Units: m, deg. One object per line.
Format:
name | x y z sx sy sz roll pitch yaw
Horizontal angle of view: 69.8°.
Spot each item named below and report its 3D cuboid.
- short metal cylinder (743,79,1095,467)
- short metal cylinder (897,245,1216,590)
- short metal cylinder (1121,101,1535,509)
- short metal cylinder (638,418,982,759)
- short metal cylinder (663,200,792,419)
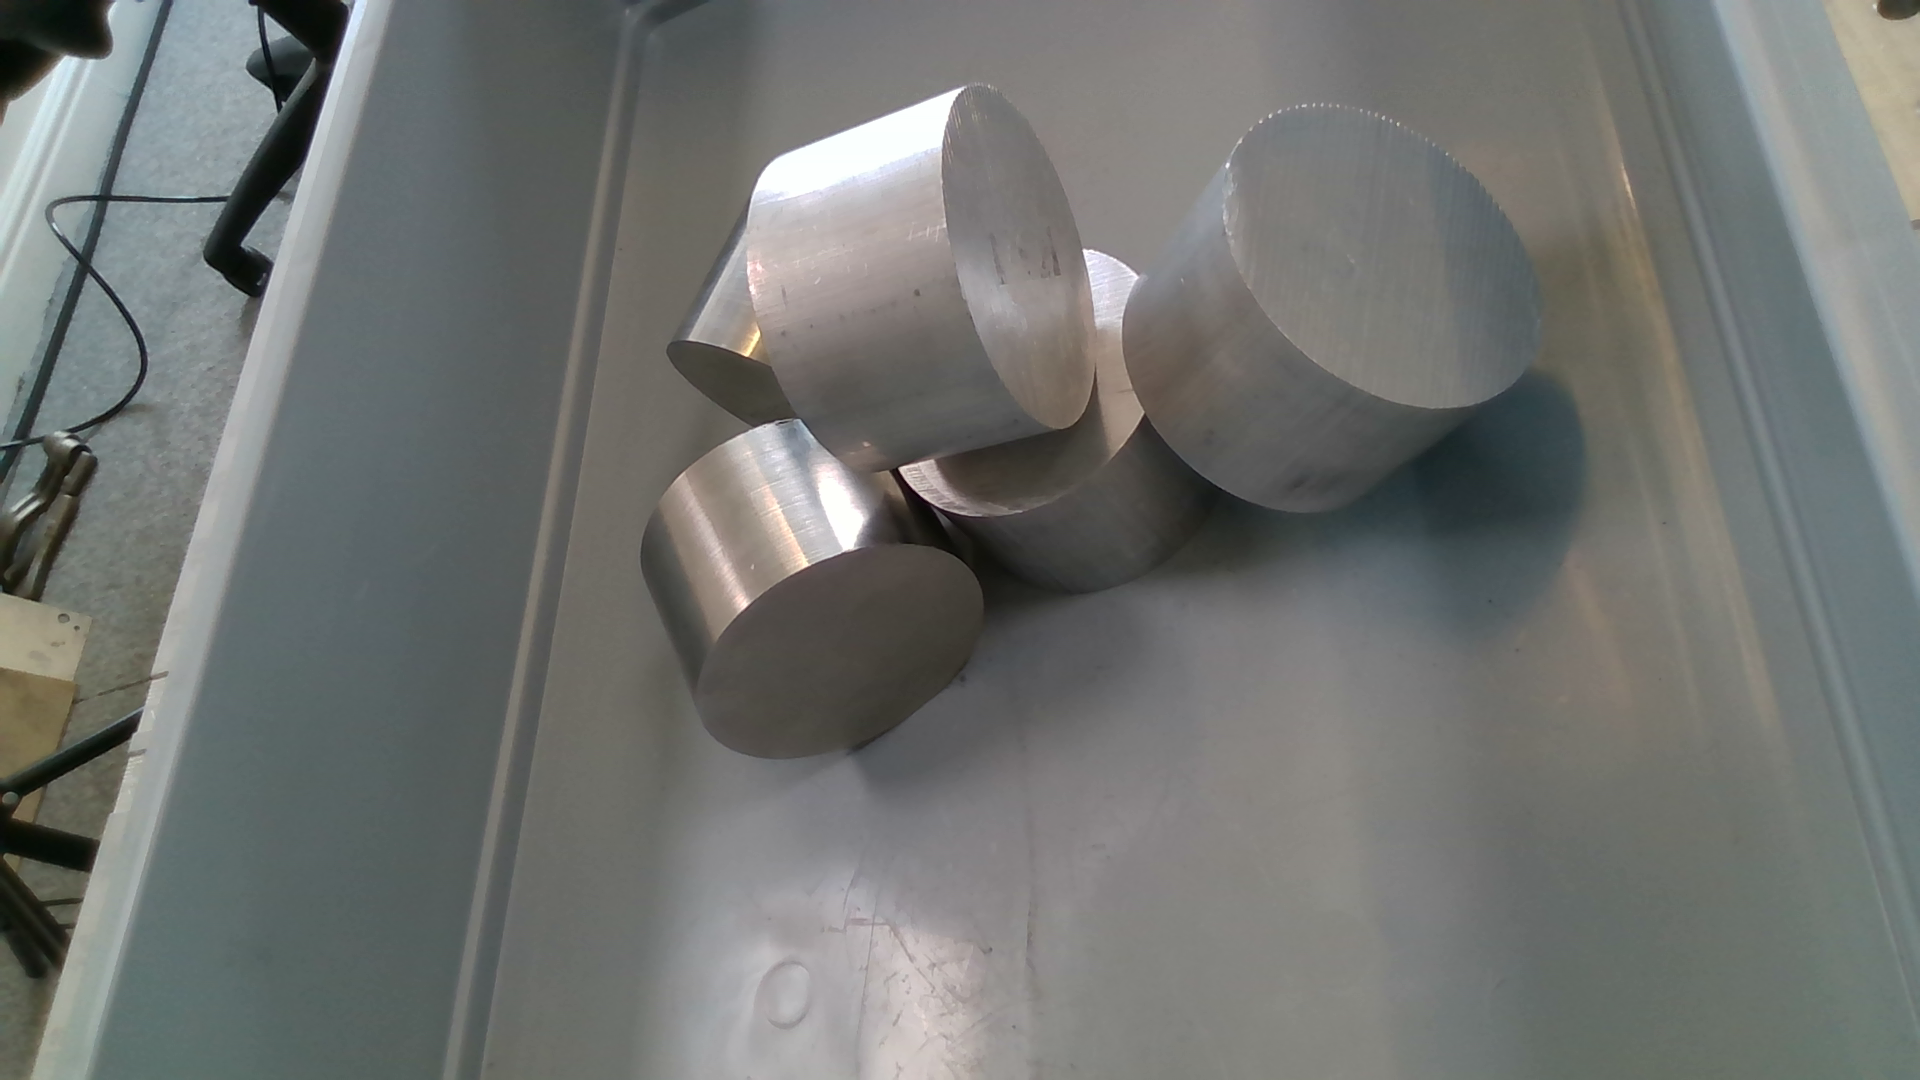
short metal cylinder | -0.007 -0.061 0.328 0.050 0.080 0.080 -11 60 27
short metal cylinder | 0.026 -0.033 0.375 0.080 0.050 0.080 -14 59 25
short metal cylinder | 0.085 -0.054 0.324 0.050 0.080 0.080 129 149 -59
short metal cylinder | -0.041 0.014 0.374 0.080 0.080 0.050 -39 51 8
short metal cylinder | -0.041 -0.060 0.413 0.080 0.080 0.050 17 75 37
